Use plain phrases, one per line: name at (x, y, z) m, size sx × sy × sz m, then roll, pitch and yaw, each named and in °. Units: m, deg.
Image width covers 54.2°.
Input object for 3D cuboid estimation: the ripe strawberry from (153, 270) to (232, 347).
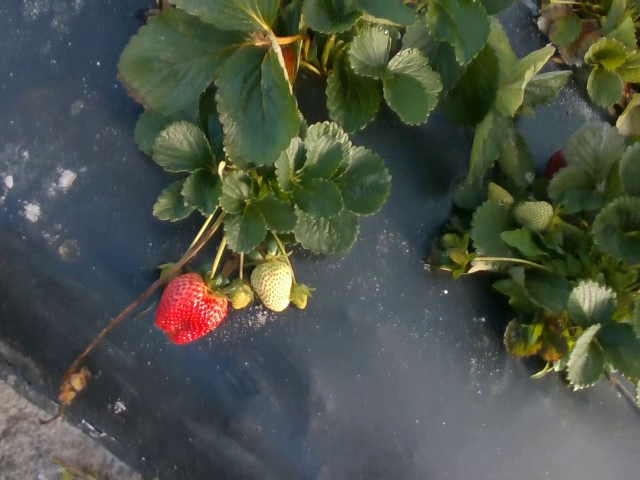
ripe strawberry at (-0.091, 0.052, 0.434) m, size 0.047 × 0.050 × 0.034 m, roll 43°, pitch 0°, yaw -7°
